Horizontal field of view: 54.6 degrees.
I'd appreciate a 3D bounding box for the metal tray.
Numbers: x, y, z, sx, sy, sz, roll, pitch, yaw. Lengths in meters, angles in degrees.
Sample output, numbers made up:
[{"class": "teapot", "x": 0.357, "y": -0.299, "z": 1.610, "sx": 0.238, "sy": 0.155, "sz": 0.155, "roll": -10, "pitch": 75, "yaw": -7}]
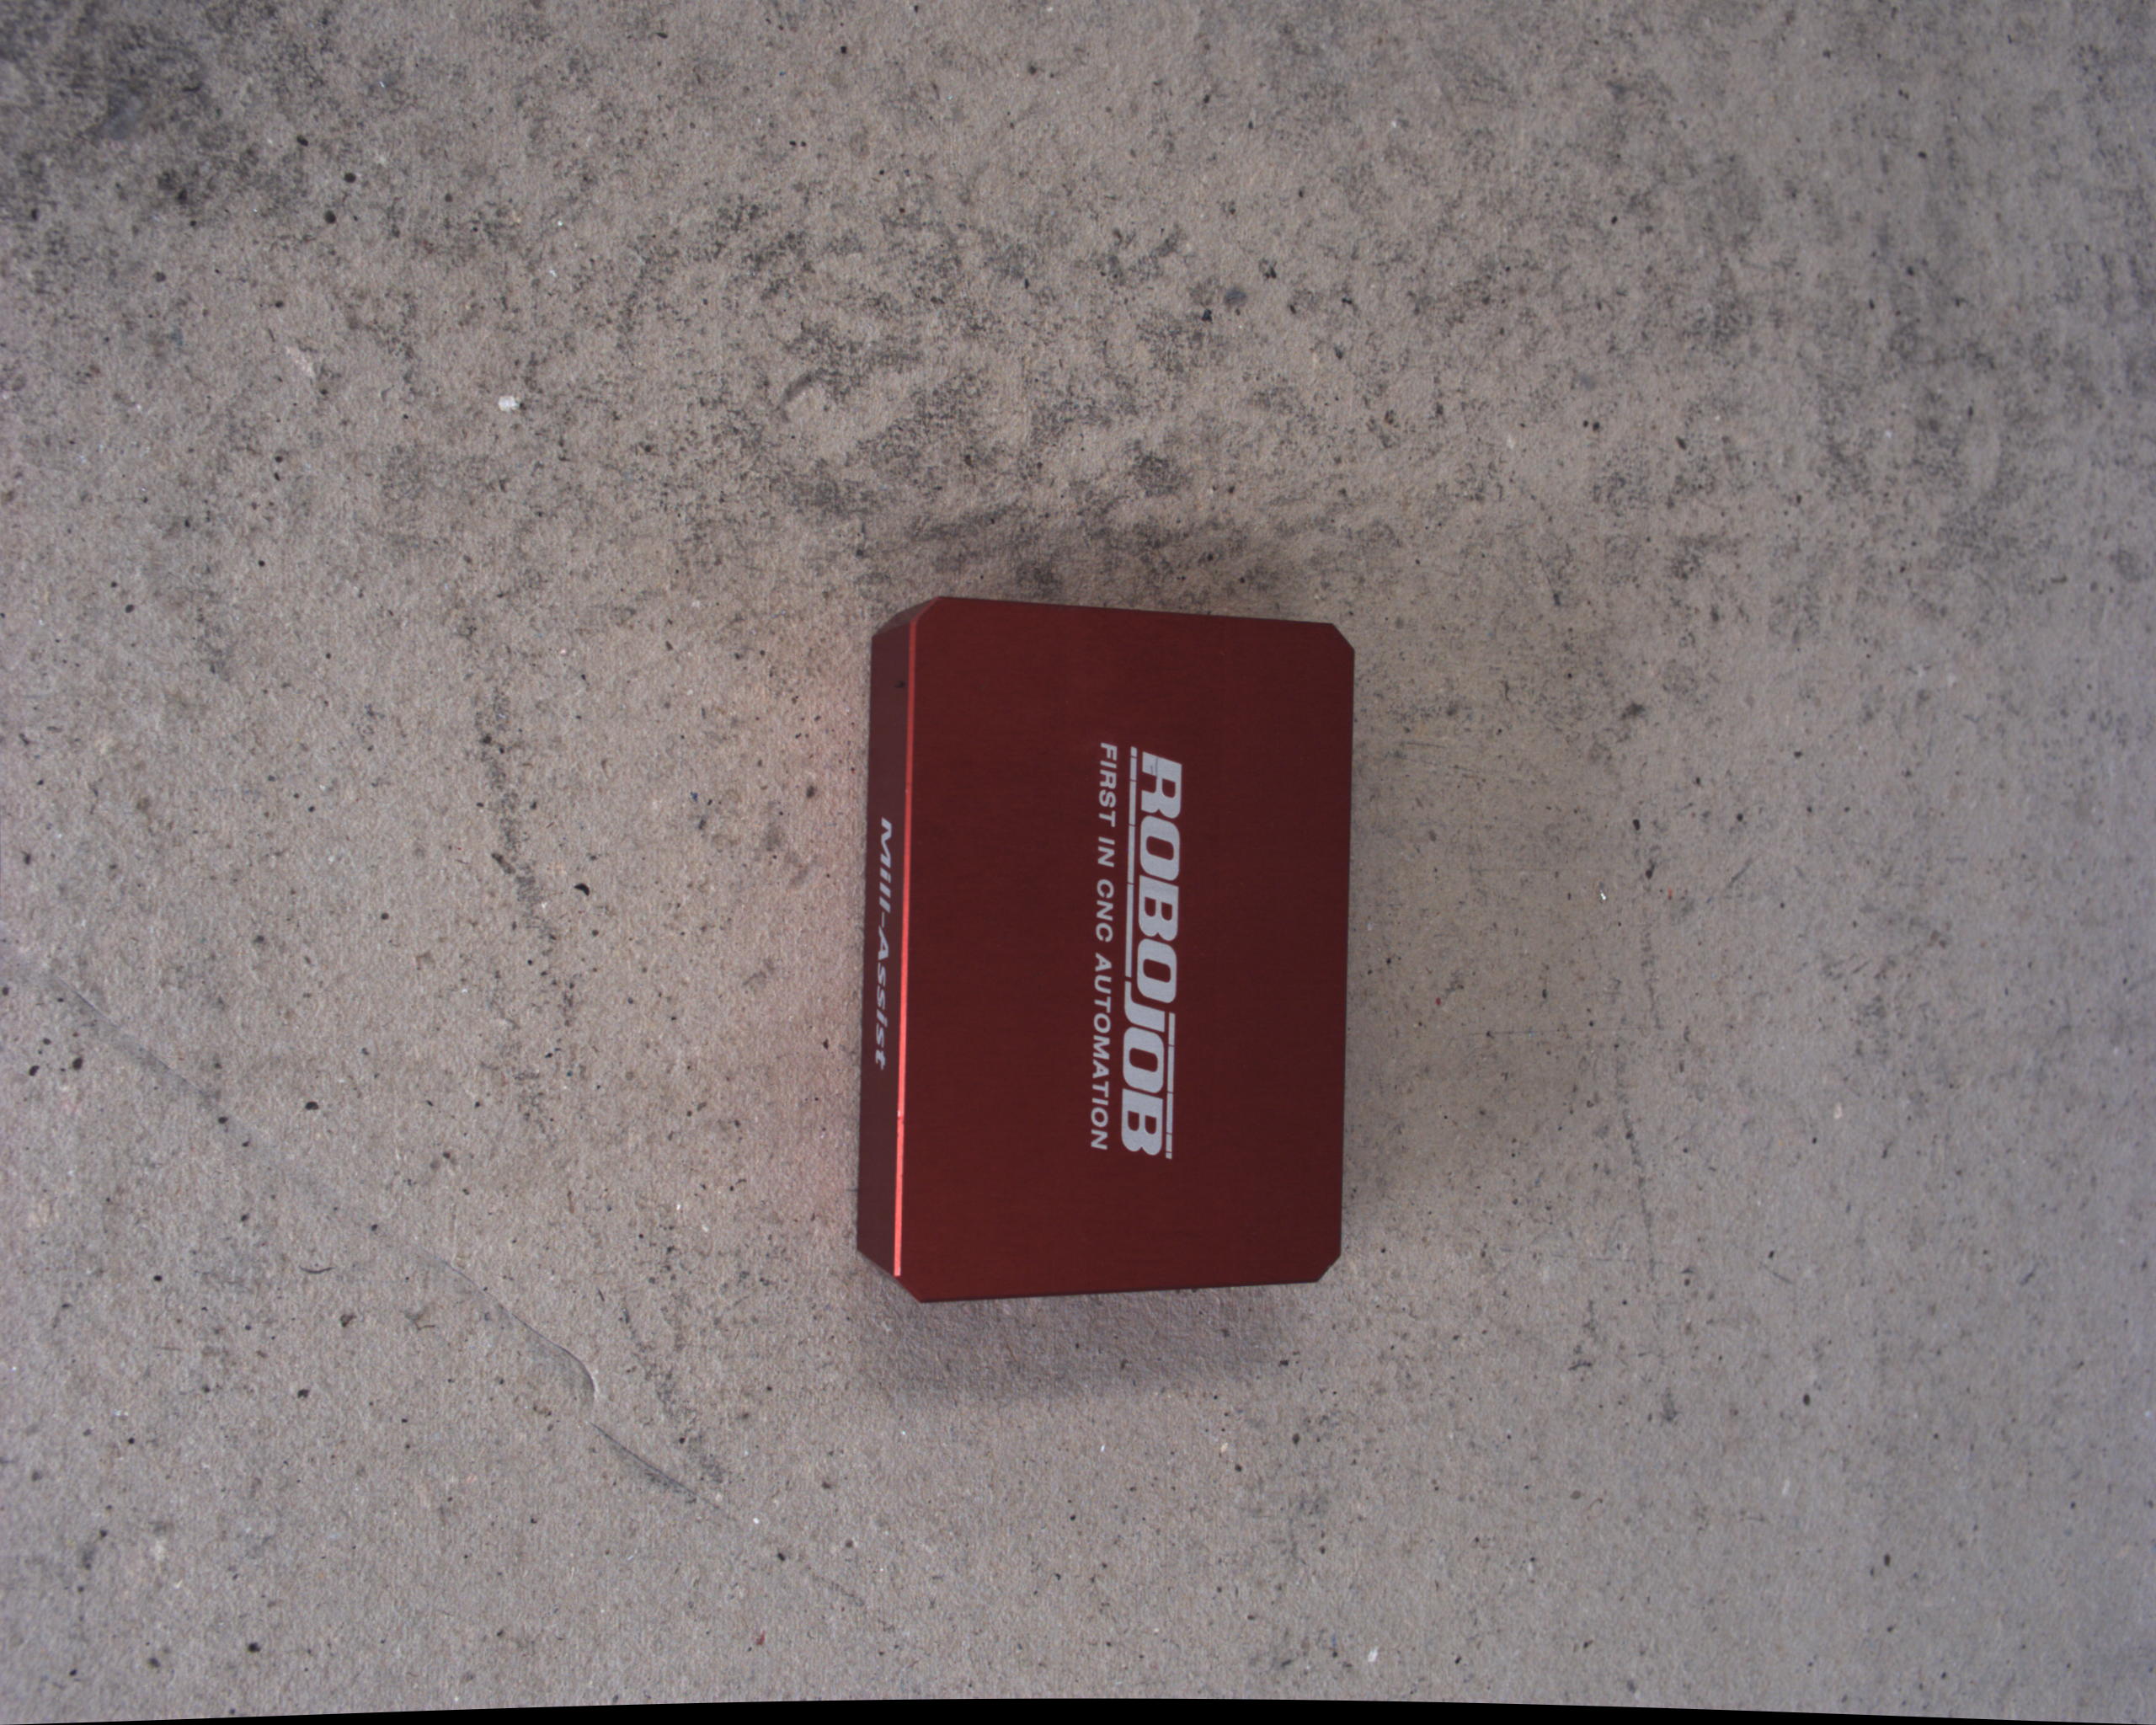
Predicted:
[{"class": "metal tray", "x": 0.006, "y": 0.017, "z": 0.409, "sx": 0.091, "sy": 0.030, "sz": 0.129, "roll": 1, "pitch": 90, "yaw": -21}]
